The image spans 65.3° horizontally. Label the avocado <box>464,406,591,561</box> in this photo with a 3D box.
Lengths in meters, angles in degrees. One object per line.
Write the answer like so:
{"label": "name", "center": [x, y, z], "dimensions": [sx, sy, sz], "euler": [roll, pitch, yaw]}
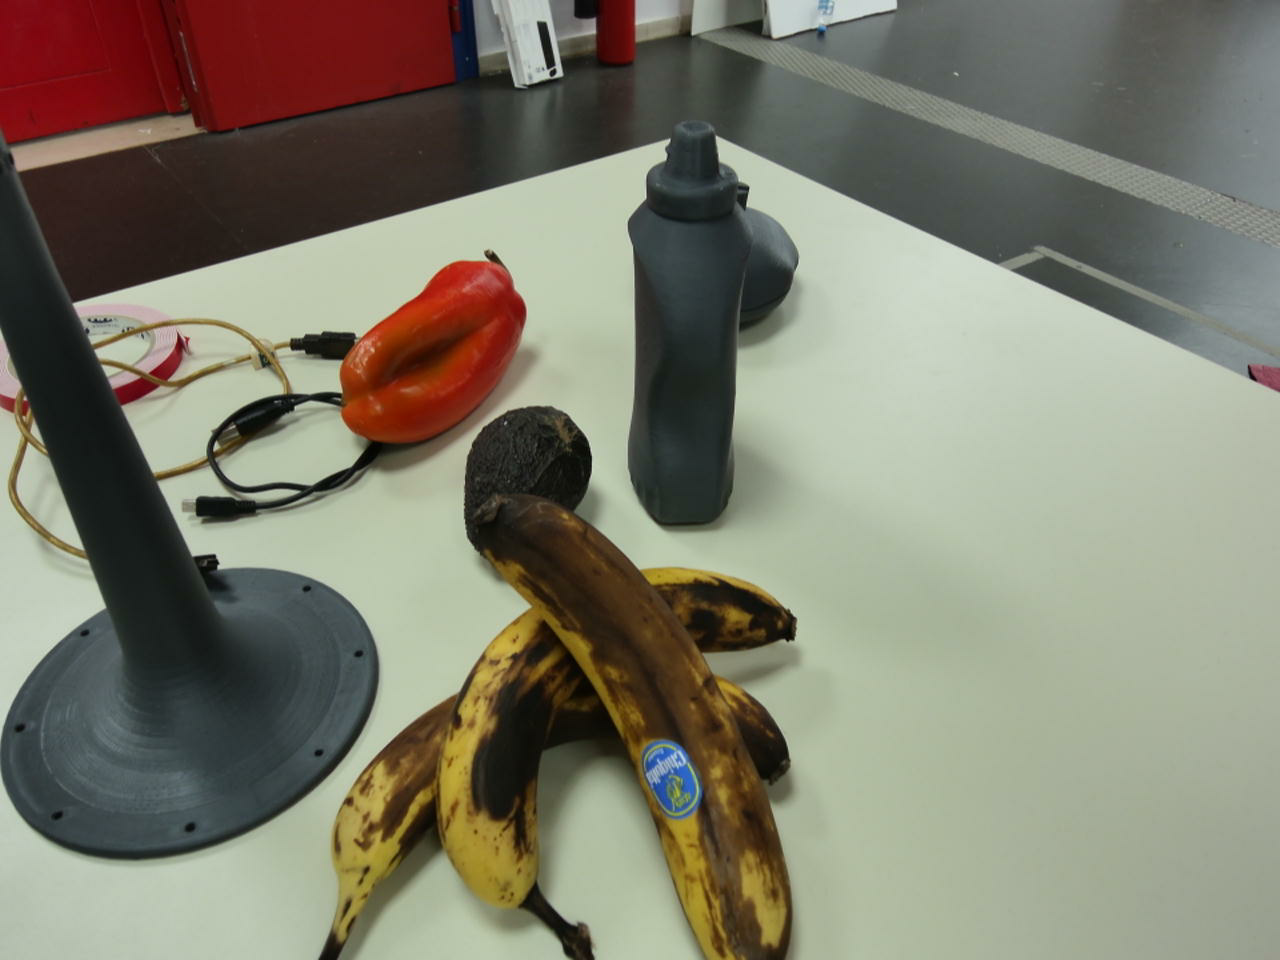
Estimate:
{"label": "avocado", "center": [-0.061, -0.001, 0.510], "dimensions": [0.062, 0.062, 0.092], "euler": [19, 42, 22]}
